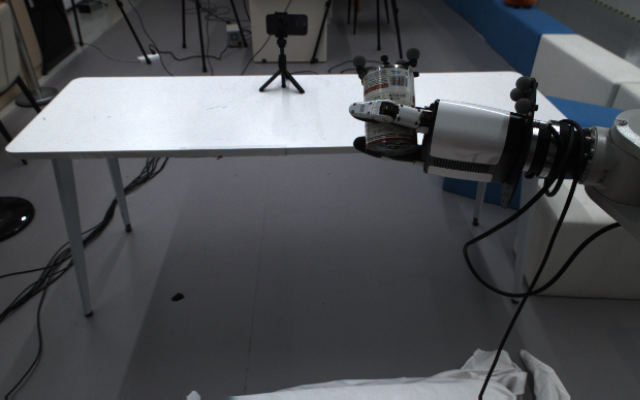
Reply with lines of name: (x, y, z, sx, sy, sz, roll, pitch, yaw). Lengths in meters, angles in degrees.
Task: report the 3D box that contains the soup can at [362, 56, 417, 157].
soup can: (0.091, -0.114, 0.623, 0.067, 0.101, 0.067, -1, -9, 0)
